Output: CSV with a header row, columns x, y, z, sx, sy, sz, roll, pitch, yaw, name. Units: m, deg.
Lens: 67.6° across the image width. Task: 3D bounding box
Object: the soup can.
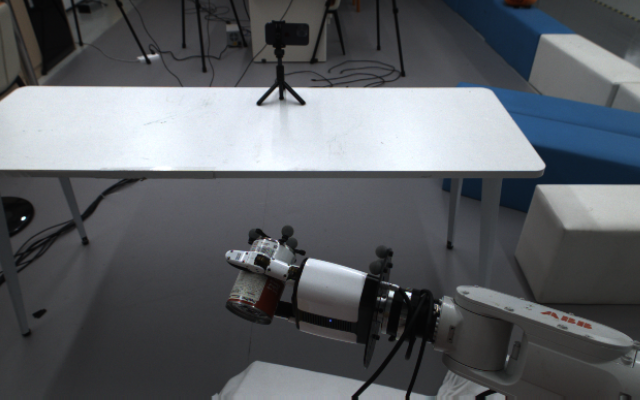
x,y,z,sx,sy,sz,roll,pitch,yaw,name
-0.080,0.110,0.670,0.067,0.067,0.101,12,59,14,soup can
